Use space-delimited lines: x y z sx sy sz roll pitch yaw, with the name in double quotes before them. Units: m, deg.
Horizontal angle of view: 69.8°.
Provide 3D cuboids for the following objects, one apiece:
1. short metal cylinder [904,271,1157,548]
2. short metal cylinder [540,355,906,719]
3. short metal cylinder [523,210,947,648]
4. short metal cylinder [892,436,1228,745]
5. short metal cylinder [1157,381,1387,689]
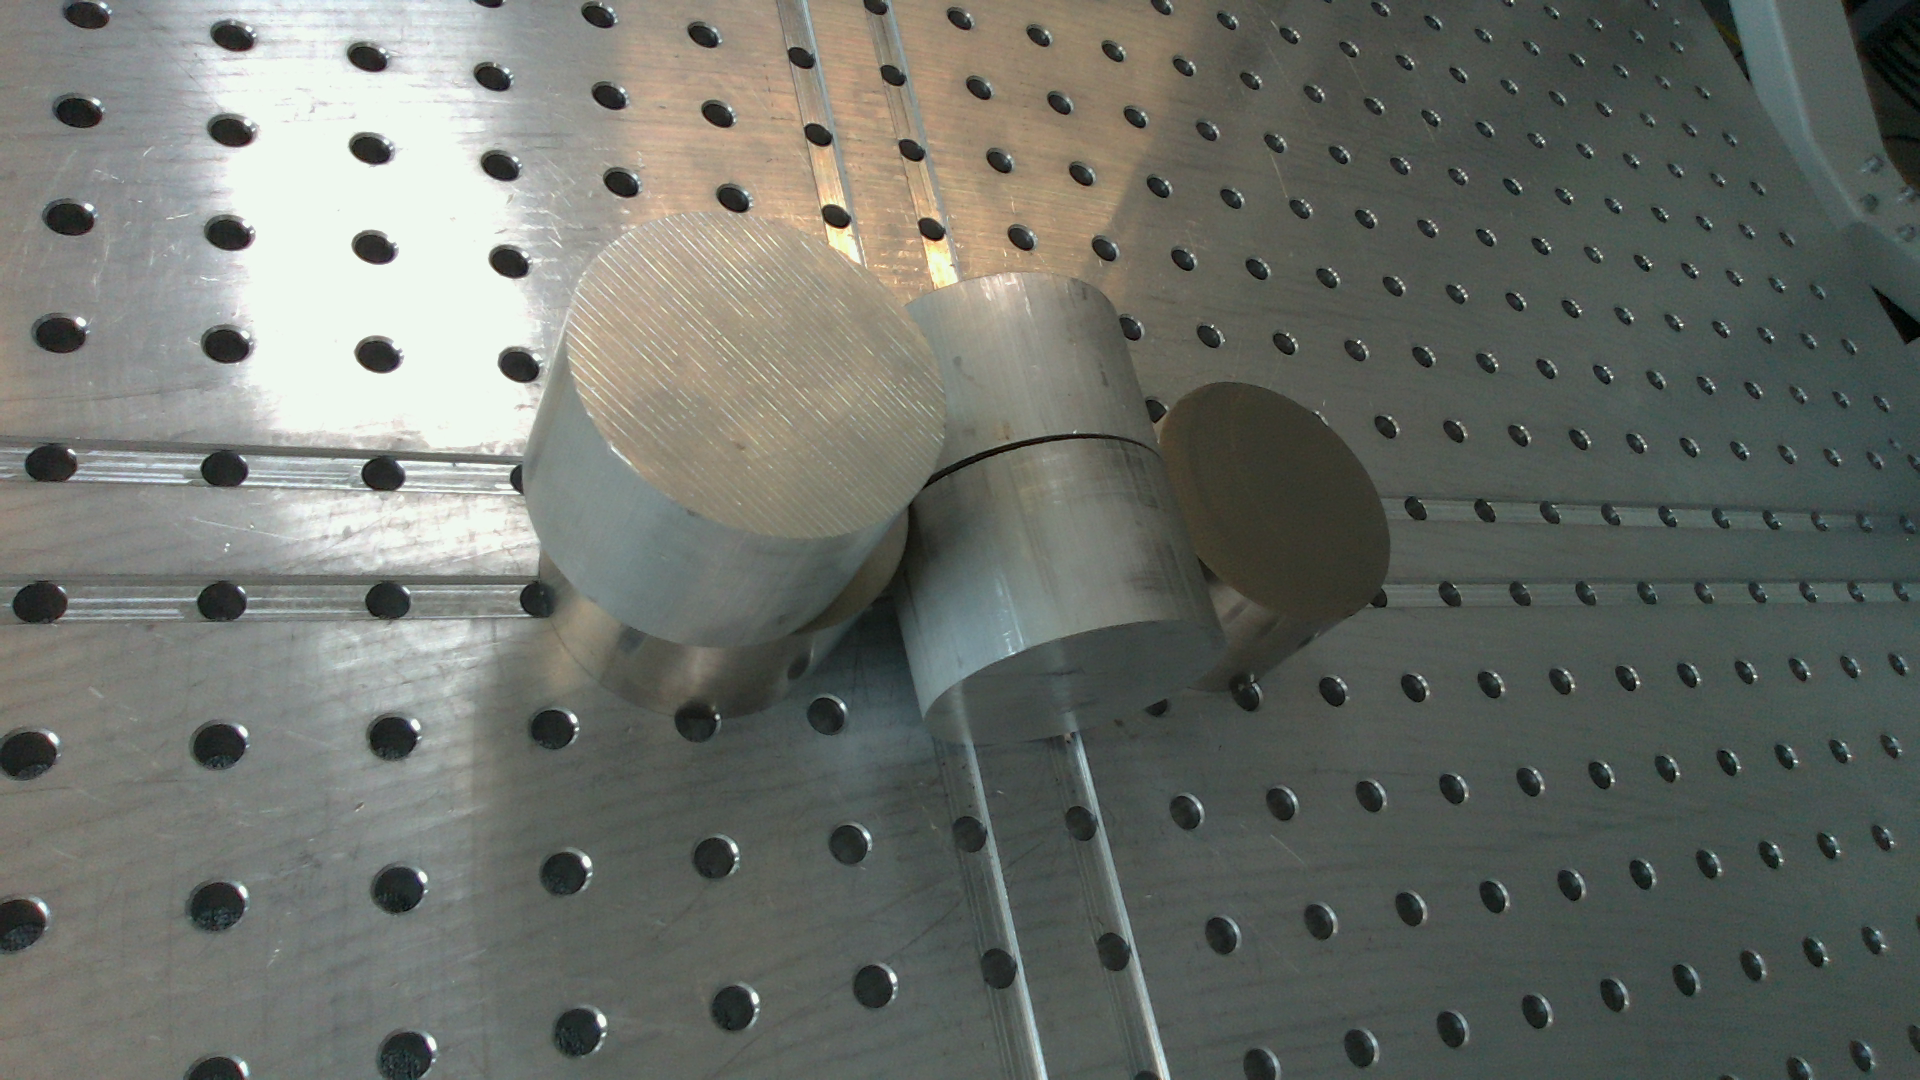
"short metal cylinder" 0.012 -0.030 0.382 0.080 0.080 0.050 1 62 -28
"short metal cylinder" -0.060 -0.002 0.345 0.080 0.050 0.080 14 56 -21
"short metal cylinder" -0.050 -0.023 0.298 0.080 0.050 0.080 14 56 -21
"short metal cylinder" 0.024 0.015 0.361 0.080 0.080 0.050 -1 62 -29
"short metal cylinder" 0.082 -0.001 0.421 0.080 0.050 0.080 14 56 -21
